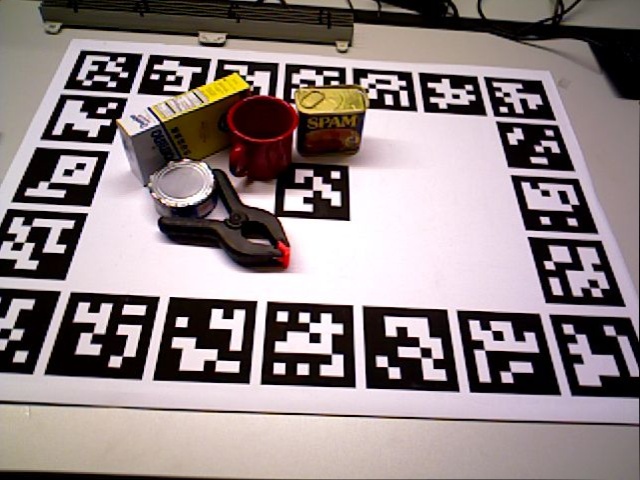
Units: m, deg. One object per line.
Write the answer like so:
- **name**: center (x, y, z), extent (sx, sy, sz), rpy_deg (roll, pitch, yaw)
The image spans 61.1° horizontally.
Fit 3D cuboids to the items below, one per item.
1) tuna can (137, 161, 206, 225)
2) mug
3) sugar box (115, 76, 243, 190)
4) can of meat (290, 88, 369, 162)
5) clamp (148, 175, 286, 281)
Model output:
- **tuna can**: center (-0.187, -0.057, 0.686), extent (0.085, 0.034, 0.084), rpy_deg (2, 57, -3)
- **mug**: center (-0.090, -0.126, 0.709), extent (0.093, 0.083, 0.115), rpy_deg (24, 58, 10)
- **sugar box**: center (-0.182, -0.141, 0.716), extent (0.173, 0.095, 0.045), rpy_deg (-30, 61, -25)
- **can of meat**: center (0.008, -0.157, 0.749), extent (0.101, 0.085, 0.057), rpy_deg (-3, 54, -9)
- **clamp**: center (-0.111, -0.005, 0.663), extent (0.165, 0.037, 0.119), rpy_deg (34, 55, 13)
